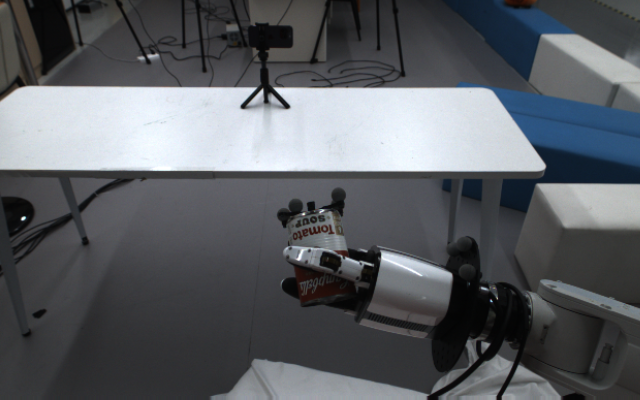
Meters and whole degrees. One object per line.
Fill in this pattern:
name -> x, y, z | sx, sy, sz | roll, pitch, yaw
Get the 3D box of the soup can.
soup can -> 0.003, 0.068, 0.569 | 0.067, 0.067, 0.101 | -8, 74, -14
